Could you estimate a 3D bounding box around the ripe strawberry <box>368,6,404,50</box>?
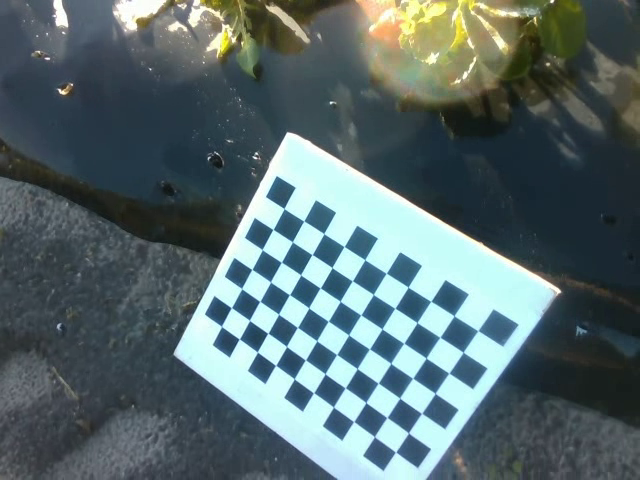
[{"bbox_3d":[0.059,-0.188,0.541,0.055,0.038,0.040,0,13,-42],"label":"ripe strawberry"}]
